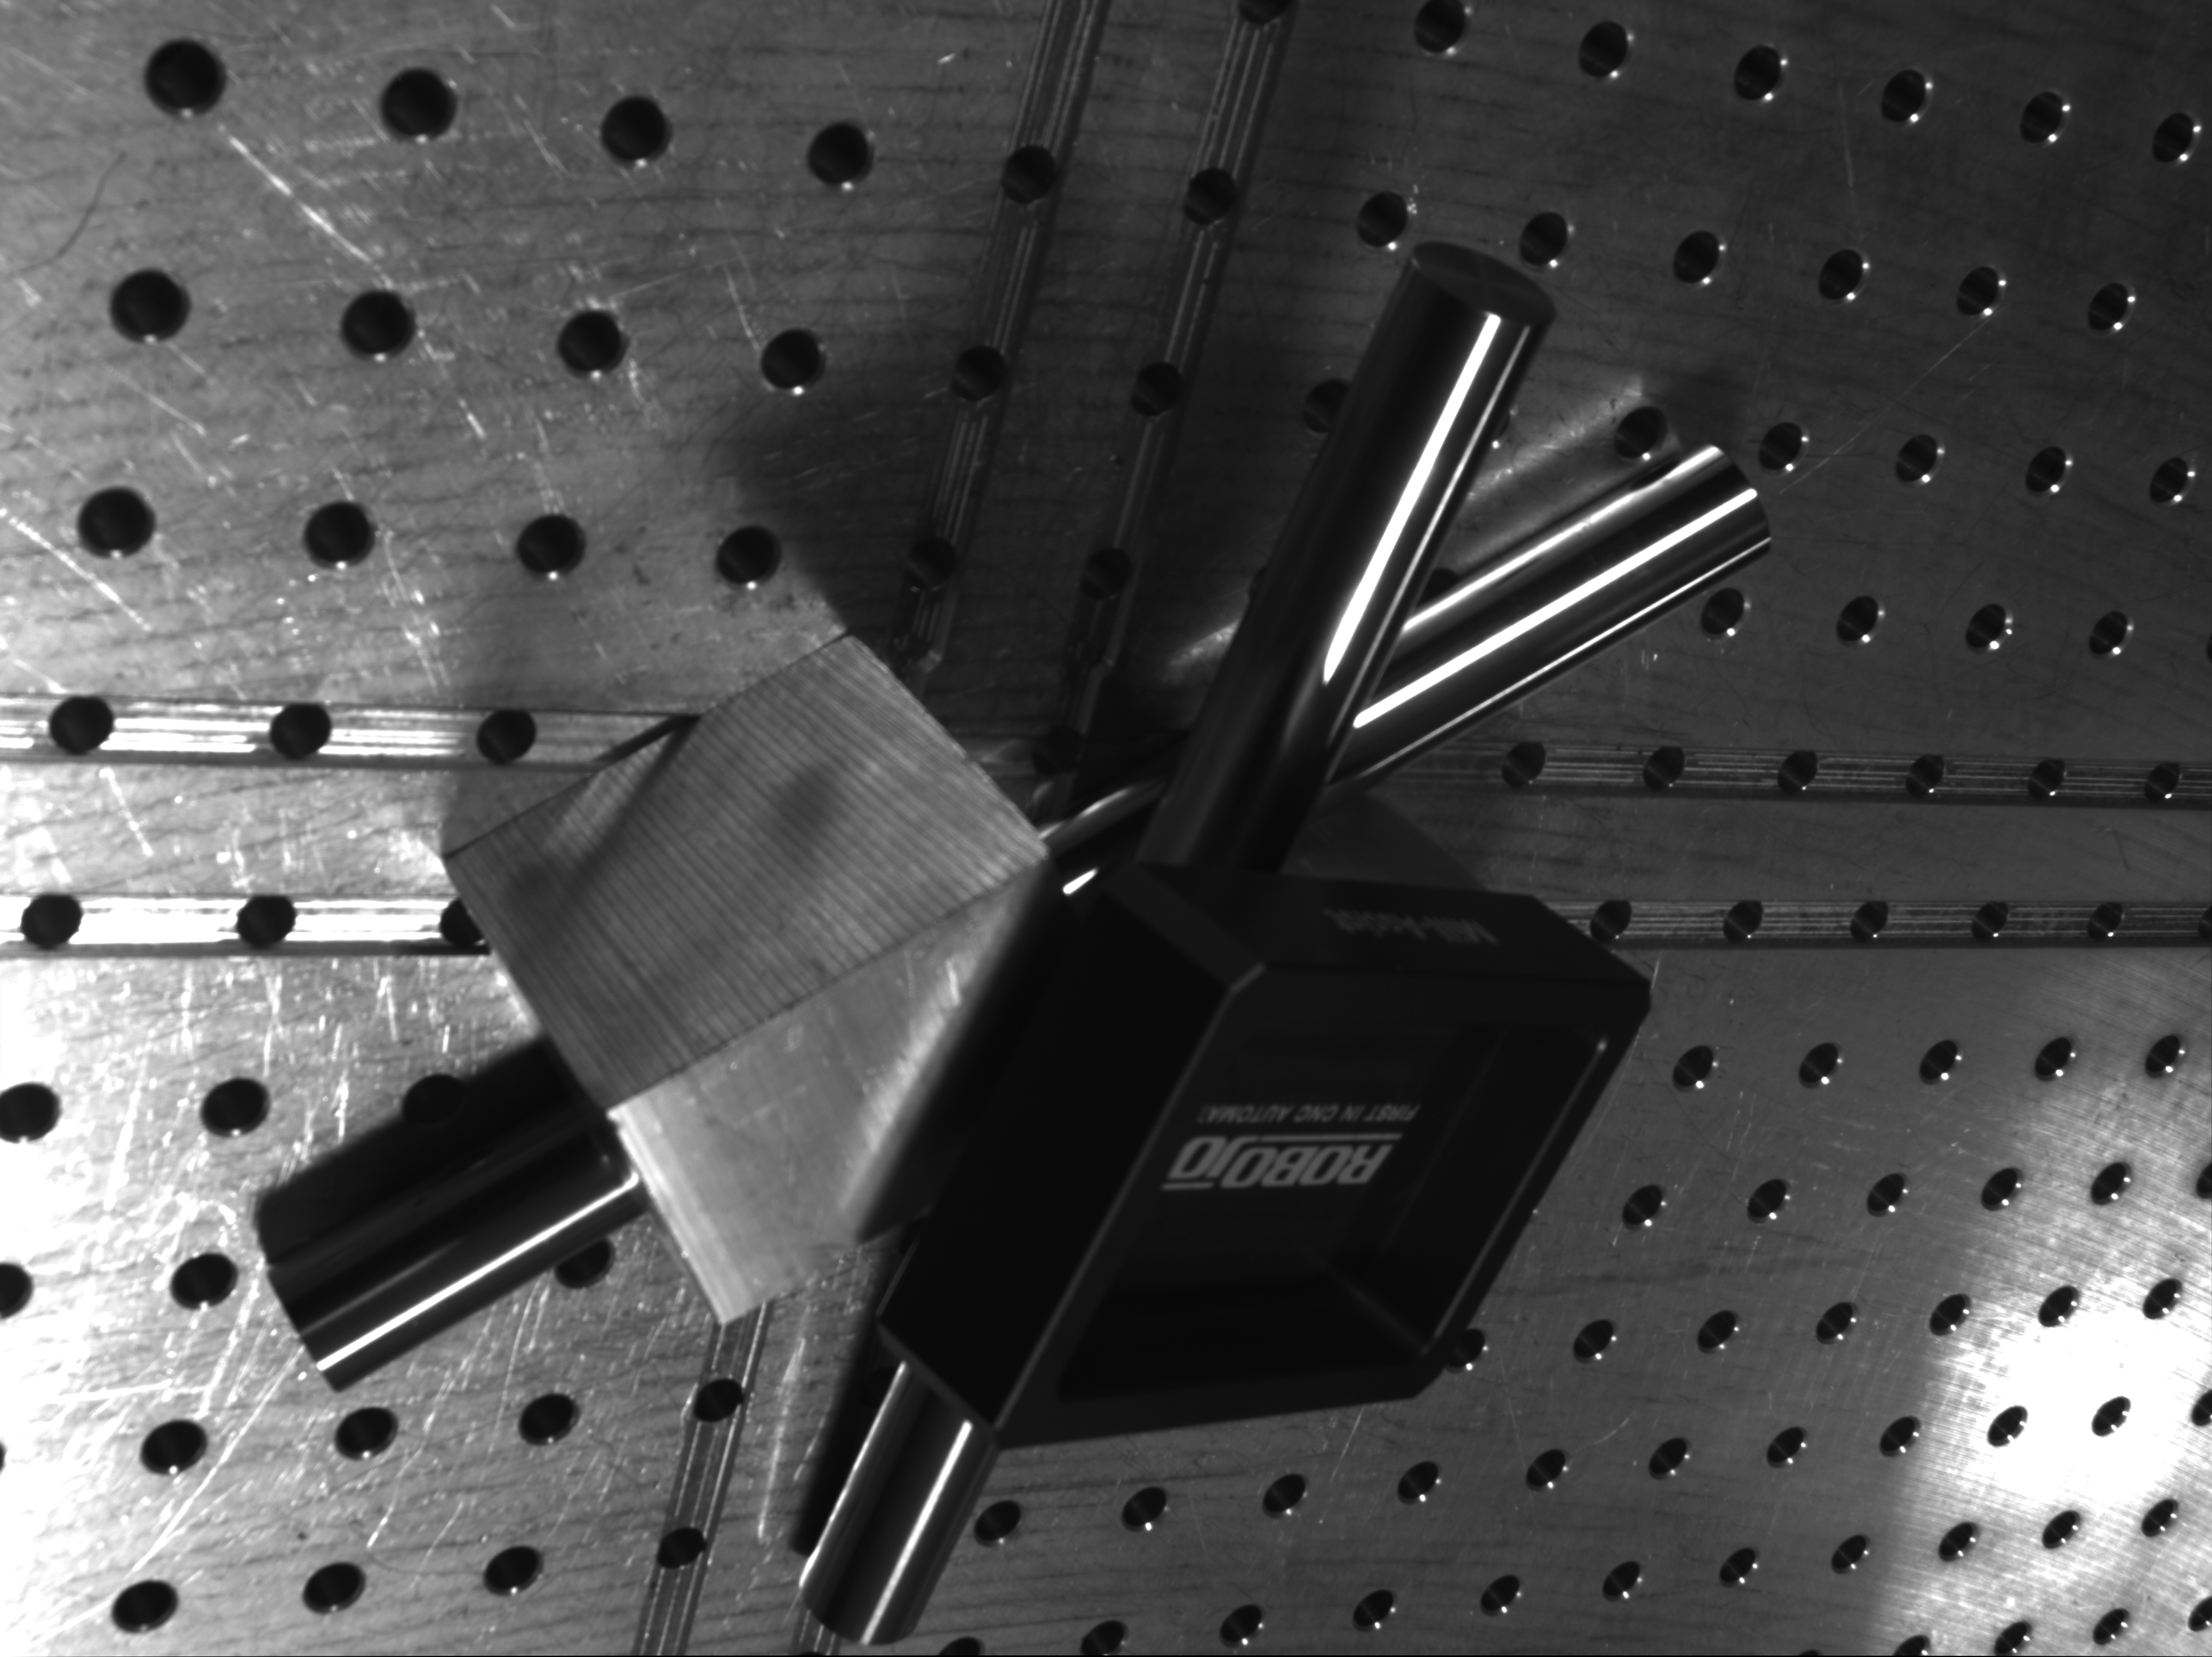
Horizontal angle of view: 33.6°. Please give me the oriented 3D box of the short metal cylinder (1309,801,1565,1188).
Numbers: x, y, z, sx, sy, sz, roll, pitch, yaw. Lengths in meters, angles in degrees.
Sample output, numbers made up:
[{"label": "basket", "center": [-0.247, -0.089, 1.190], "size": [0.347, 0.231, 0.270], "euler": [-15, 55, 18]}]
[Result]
[{"label": "short metal cylinder", "center": [0.046, 0.040, 0.688], "size": [0.080, 0.050, 0.080], "euler": [-15, 125, -22]}]

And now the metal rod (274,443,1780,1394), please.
[{"label": "metal rod", "center": [-0.009, 0.013, 0.657], "size": [0.300, 0.025, 0.025], "euler": [-30, 129, -11]}]

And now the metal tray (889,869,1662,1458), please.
[{"label": "metal tray", "center": [0.032, 0.055, 0.611], "size": [0.130, 0.030, 0.090], "euler": [5, 117, -53]}]

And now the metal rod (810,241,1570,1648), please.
[{"label": "metal rod", "center": [0.008, 0.033, 0.649], "size": [0.025, 0.025, 0.300], "euler": [4, 125, -32]}]

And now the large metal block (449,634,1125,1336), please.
[{"label": "large metal block", "center": [-0.050, 0.024, 0.602], "size": [0.080, 0.080, 0.050], "euler": [-30, 129, -11]}]
